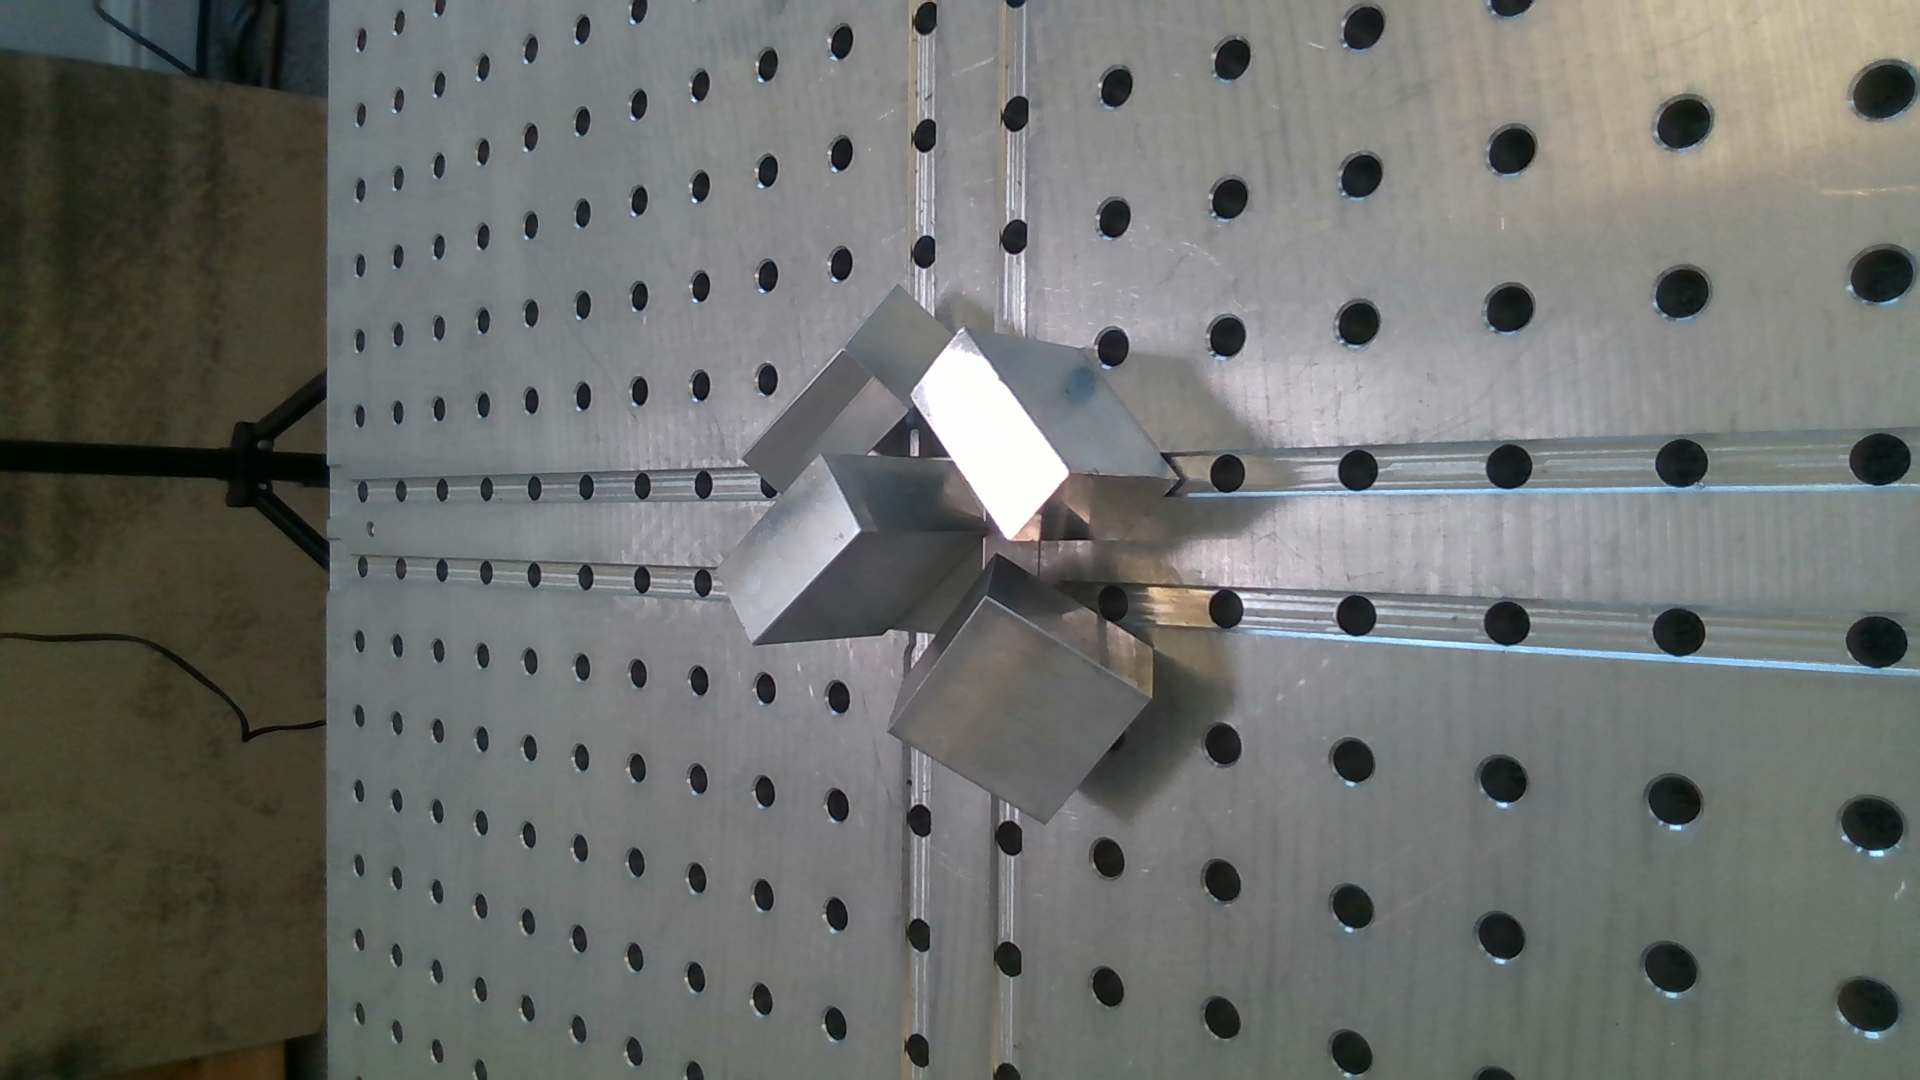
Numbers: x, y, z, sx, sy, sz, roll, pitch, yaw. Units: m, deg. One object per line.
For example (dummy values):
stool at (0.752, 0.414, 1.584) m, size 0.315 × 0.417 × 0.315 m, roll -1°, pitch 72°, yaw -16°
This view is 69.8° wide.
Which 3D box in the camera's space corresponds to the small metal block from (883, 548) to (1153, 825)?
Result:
small metal block at (0.016, 0.039, 0.363) m, size 0.050 × 0.025 × 0.050 m, roll 31°, pitch 116°, yaw -7°

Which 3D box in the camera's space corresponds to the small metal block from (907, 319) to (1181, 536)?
small metal block at (0.022, -0.028, 0.358) m, size 0.025 × 0.050 × 0.050 m, roll -49°, pitch 61°, yaw 29°

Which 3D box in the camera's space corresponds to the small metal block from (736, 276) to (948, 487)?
small metal block at (-0.032, -0.043, 0.400) m, size 0.025 × 0.050 × 0.050 m, roll 42°, pitch 123°, yaw -10°

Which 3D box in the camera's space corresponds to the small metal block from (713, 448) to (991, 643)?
small metal block at (-0.029, 0.002, 0.369) m, size 0.050 × 0.050 × 0.025 m, roll -44°, pitch 64°, yaw 32°

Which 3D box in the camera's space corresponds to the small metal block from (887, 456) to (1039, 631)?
small metal block at (-0.005, 0.000, 0.397) m, size 0.050 × 0.025 × 0.050 m, roll 1°, pitch 92°, yaw 40°
